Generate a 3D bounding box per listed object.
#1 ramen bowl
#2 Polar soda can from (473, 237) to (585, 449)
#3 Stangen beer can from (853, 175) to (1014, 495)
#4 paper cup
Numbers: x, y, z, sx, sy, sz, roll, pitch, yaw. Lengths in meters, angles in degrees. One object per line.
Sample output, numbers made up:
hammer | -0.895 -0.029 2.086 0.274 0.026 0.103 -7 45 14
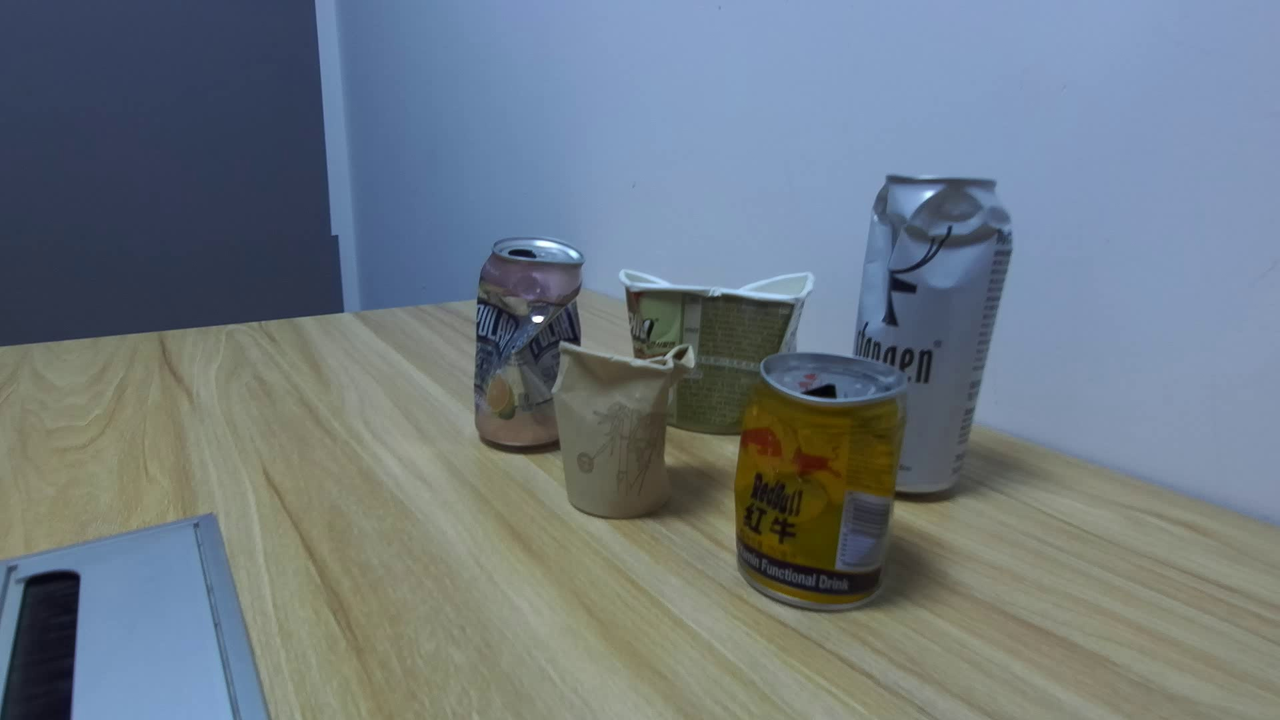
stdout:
ramen bowl | 0.049 -0.012 0.487 0.128 0.093 0.112 5 17 14
Polar soda can | -0.064 -0.008 0.429 0.067 0.121 0.070 0 16 -22
Stangen beer can | 0.150 -0.012 0.380 0.066 0.166 0.066 3 17 3
paper cup | -0.007 0.031 0.362 0.066 0.083 0.058 11 18 24
